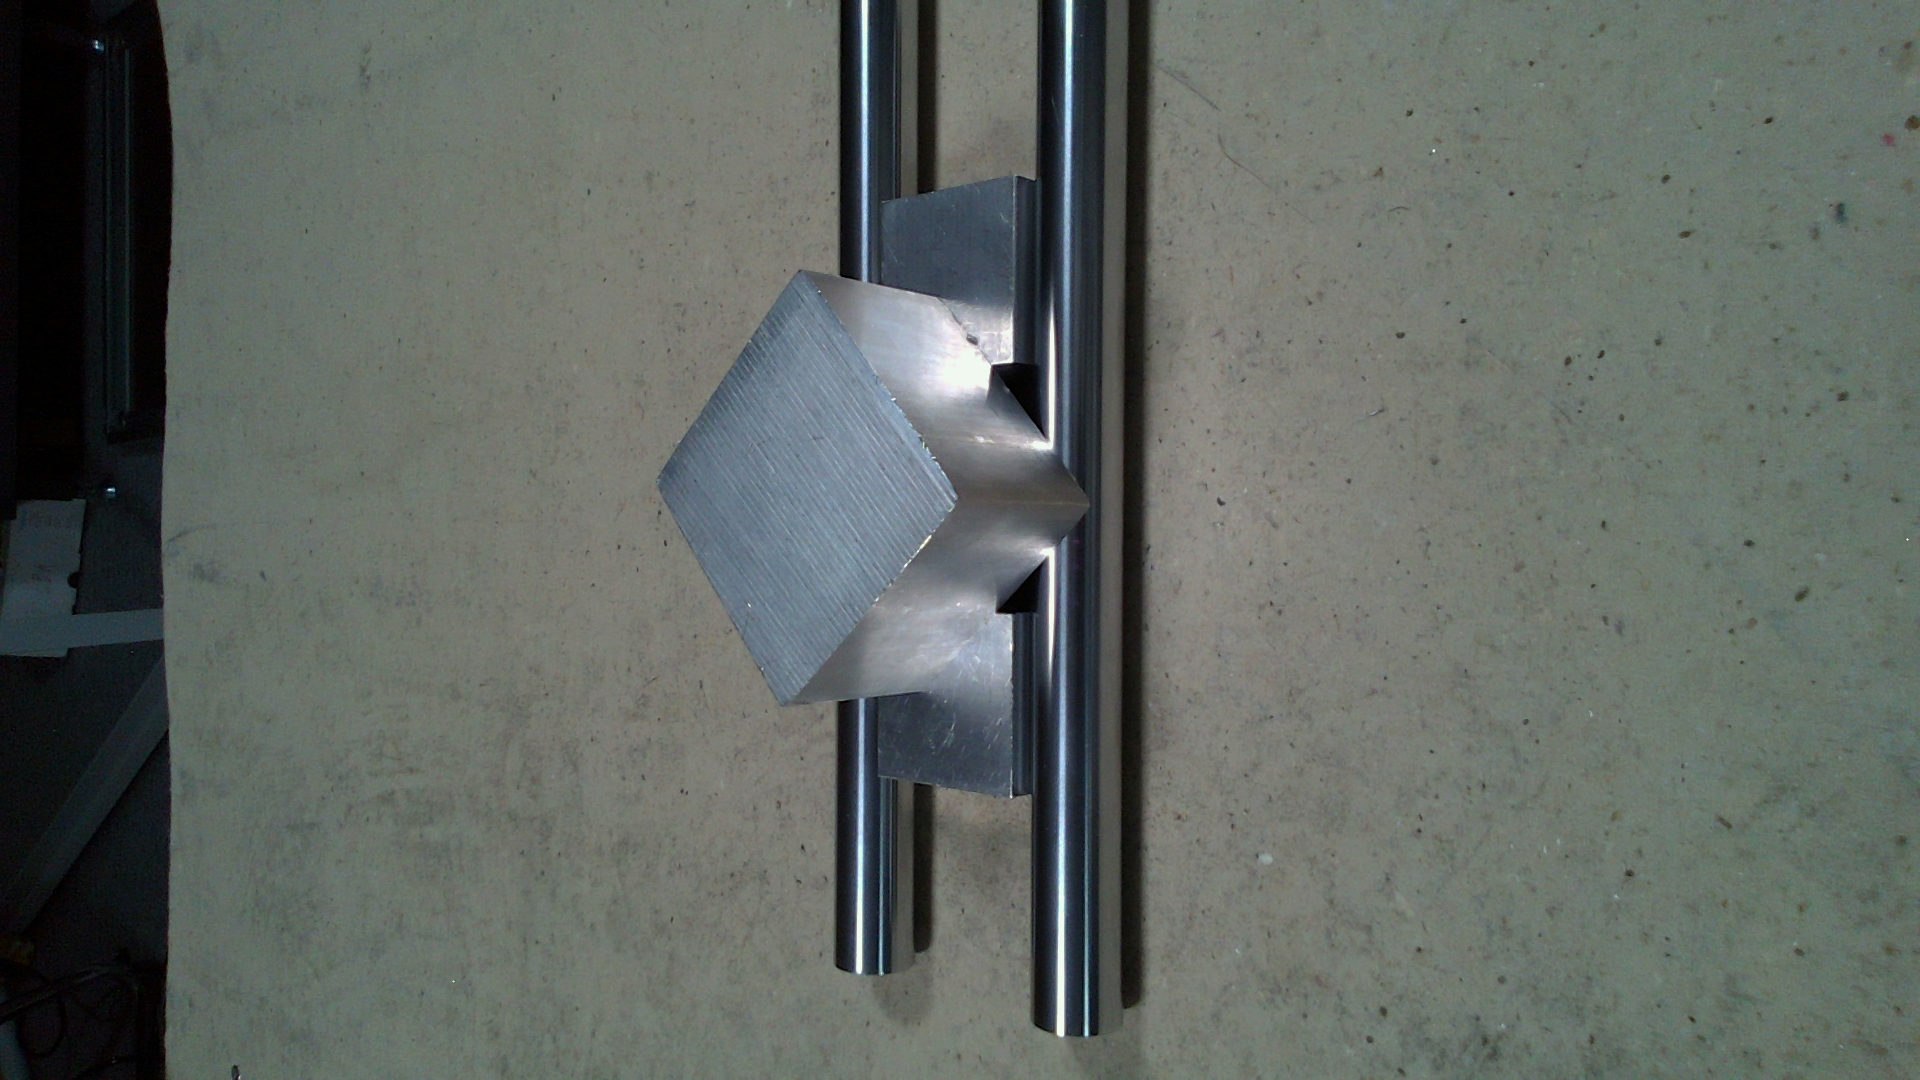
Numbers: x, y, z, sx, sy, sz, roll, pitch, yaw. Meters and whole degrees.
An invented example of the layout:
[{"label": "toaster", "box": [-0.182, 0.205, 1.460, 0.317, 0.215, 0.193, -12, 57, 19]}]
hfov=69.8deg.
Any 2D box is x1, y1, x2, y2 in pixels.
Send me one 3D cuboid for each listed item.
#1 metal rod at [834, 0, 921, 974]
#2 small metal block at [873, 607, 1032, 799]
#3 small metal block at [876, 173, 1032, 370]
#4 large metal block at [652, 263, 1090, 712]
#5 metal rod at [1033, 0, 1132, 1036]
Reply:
[{"label": "metal rod", "box": [-0.025, -0.022, 0.417, 0.025, 0.025, 0.300, 1, 90, 40]}, {"label": "small metal block", "box": [0.002, 0.044, 0.392, 0.050, 0.025, 0.050, 1, 91, 40]}, {"label": "small metal block", "box": [0.003, -0.073, 0.391, 0.050, 0.025, 0.050, 1, 91, 40]}, {"label": "large metal block", "box": [-0.026, -0.013, 0.365, 0.080, 0.050, 0.080, -49, 61, 29]}, {"label": "metal rod", "box": [0.033, -0.022, 0.368, 0.025, 0.025, 0.300, 1, 90, 40]}]
